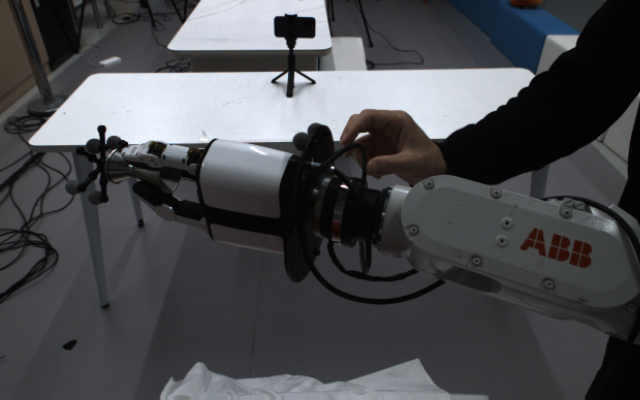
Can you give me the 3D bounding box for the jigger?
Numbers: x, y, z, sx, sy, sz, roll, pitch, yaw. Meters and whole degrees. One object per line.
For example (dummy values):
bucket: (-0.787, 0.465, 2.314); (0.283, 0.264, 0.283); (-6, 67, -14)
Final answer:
jigger: (-0.189, -0.036, 0.536); (0.071, 0.043, 0.043); (8, 35, 12)
